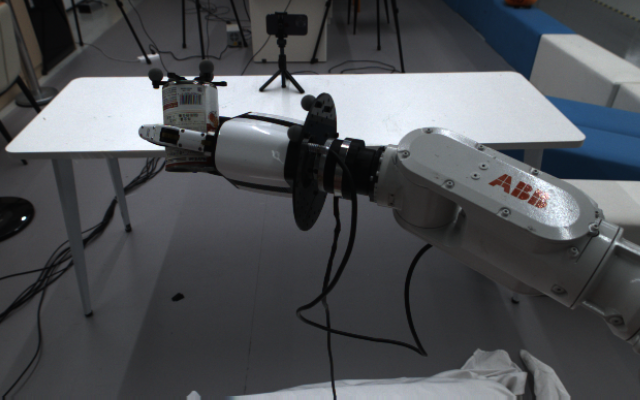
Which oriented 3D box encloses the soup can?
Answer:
[{"bbox_3d":[-0.155,-0.086,0.587,0.067,0.101,0.067,-3,-1,0],"label":"soup can"}]
